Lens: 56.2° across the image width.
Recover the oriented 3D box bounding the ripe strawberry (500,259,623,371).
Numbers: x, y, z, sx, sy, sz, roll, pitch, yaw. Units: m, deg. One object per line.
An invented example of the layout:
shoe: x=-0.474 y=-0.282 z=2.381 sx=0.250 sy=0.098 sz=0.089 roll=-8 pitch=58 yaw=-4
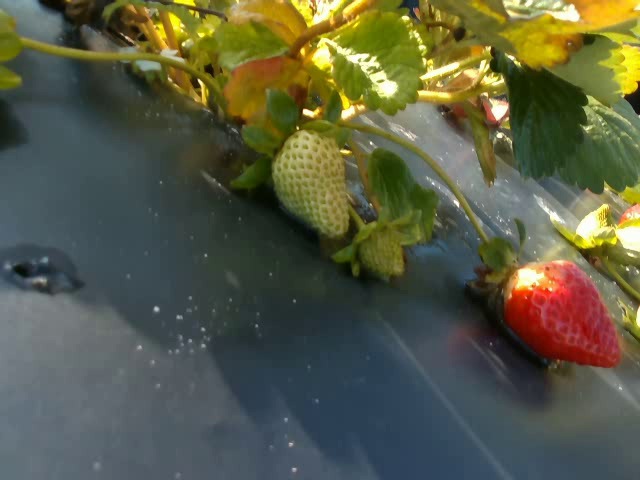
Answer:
ripe strawberry: x=0.073 y=0.025 z=0.171 sx=0.030 sy=0.045 sz=0.033 roll=-31 pitch=-28 yaw=-18
